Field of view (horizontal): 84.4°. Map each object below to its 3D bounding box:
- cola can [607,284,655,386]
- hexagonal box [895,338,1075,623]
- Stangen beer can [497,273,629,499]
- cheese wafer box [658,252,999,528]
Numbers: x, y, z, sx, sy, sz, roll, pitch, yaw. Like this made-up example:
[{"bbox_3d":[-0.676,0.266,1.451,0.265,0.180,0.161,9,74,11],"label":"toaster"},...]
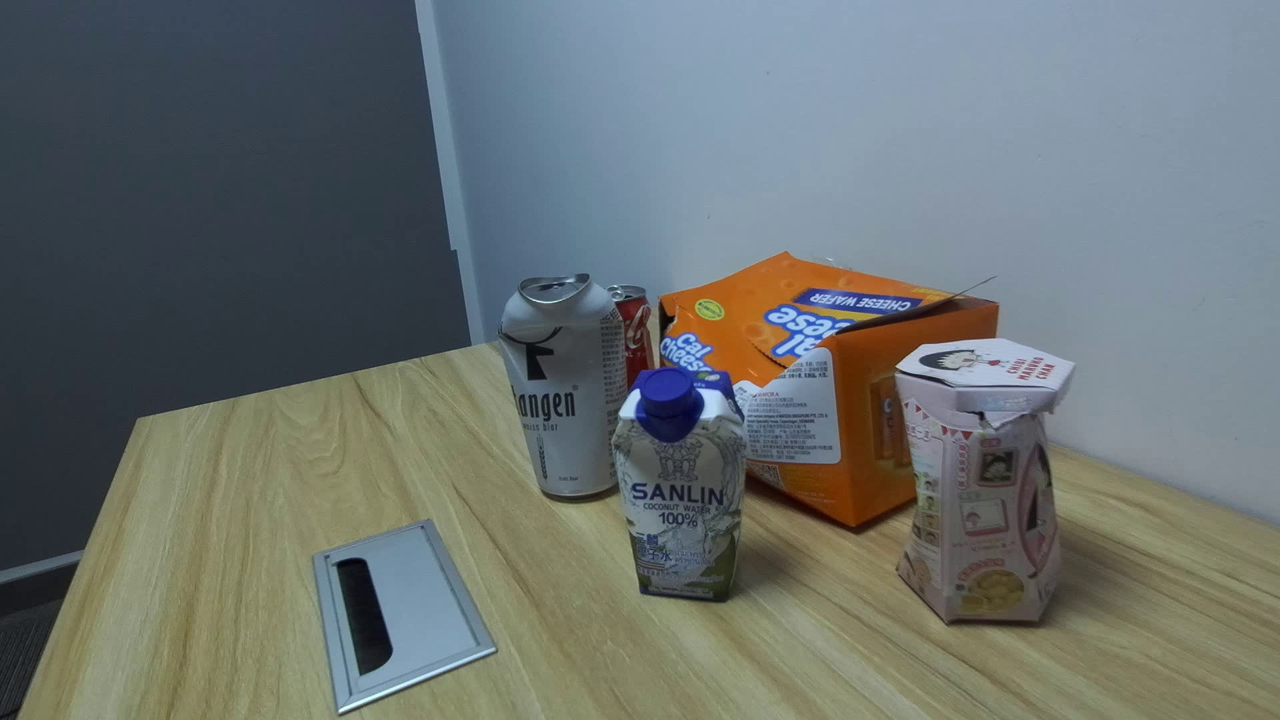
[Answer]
[{"bbox_3d":[-0.016,-0.010,0.668,0.066,0.117,0.066,2,21,20],"label":"cola can"},{"bbox_3d":[0.184,0.065,0.389,0.091,0.134,0.090,-8,16,-7],"label":"hexagonal box"},{"bbox_3d":[-0.053,0.021,0.521,0.077,0.162,0.065,-18,23,-31],"label":"Stangen beer can"},{"bbox_3d":[0.123,0.007,0.546,0.192,0.145,0.218,-16,23,-31],"label":"cheese wafer box"}]
